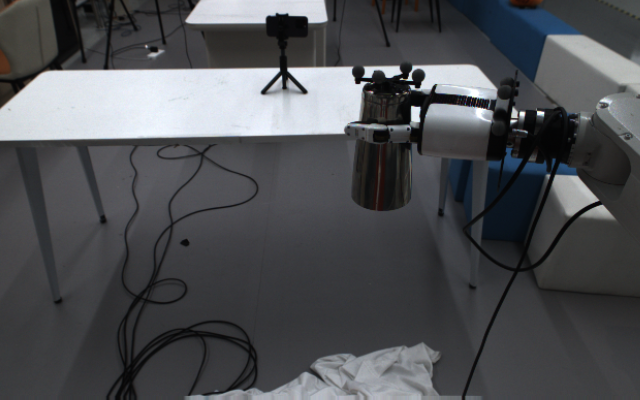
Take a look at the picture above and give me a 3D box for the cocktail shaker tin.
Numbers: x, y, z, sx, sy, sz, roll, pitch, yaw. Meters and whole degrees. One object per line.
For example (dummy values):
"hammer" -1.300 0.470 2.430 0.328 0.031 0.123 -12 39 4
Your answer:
"cocktail shaker tin" 0.096 -0.084 0.700 0.093 0.170 0.093 -1 32 1
